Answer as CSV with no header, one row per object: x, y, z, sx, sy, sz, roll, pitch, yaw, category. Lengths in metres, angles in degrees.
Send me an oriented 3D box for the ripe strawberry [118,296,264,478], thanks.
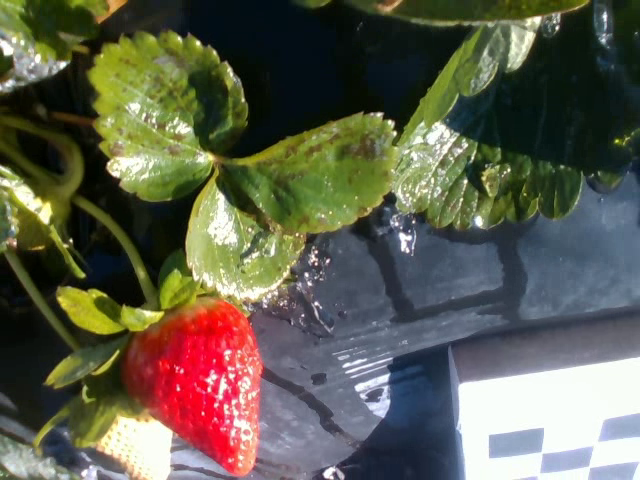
-0.033,0.050,0.181,0.042,0.061,0.046,-20,0,15,ripe strawberry
